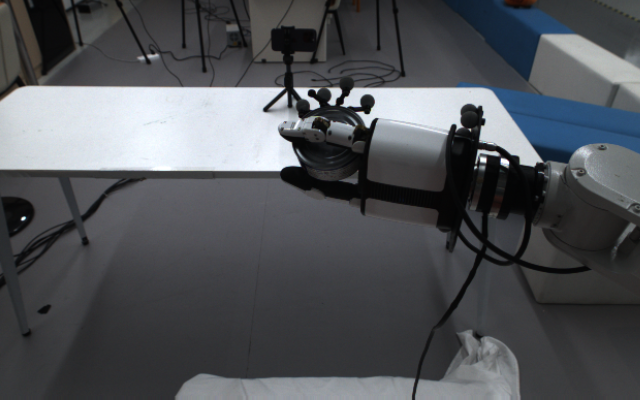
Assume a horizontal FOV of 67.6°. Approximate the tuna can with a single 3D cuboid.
[{"bbox_3d":[0.013,-0.065,0.562,0.085,0.034,0.085,-6,61,10],"label":"tuna can"}]
